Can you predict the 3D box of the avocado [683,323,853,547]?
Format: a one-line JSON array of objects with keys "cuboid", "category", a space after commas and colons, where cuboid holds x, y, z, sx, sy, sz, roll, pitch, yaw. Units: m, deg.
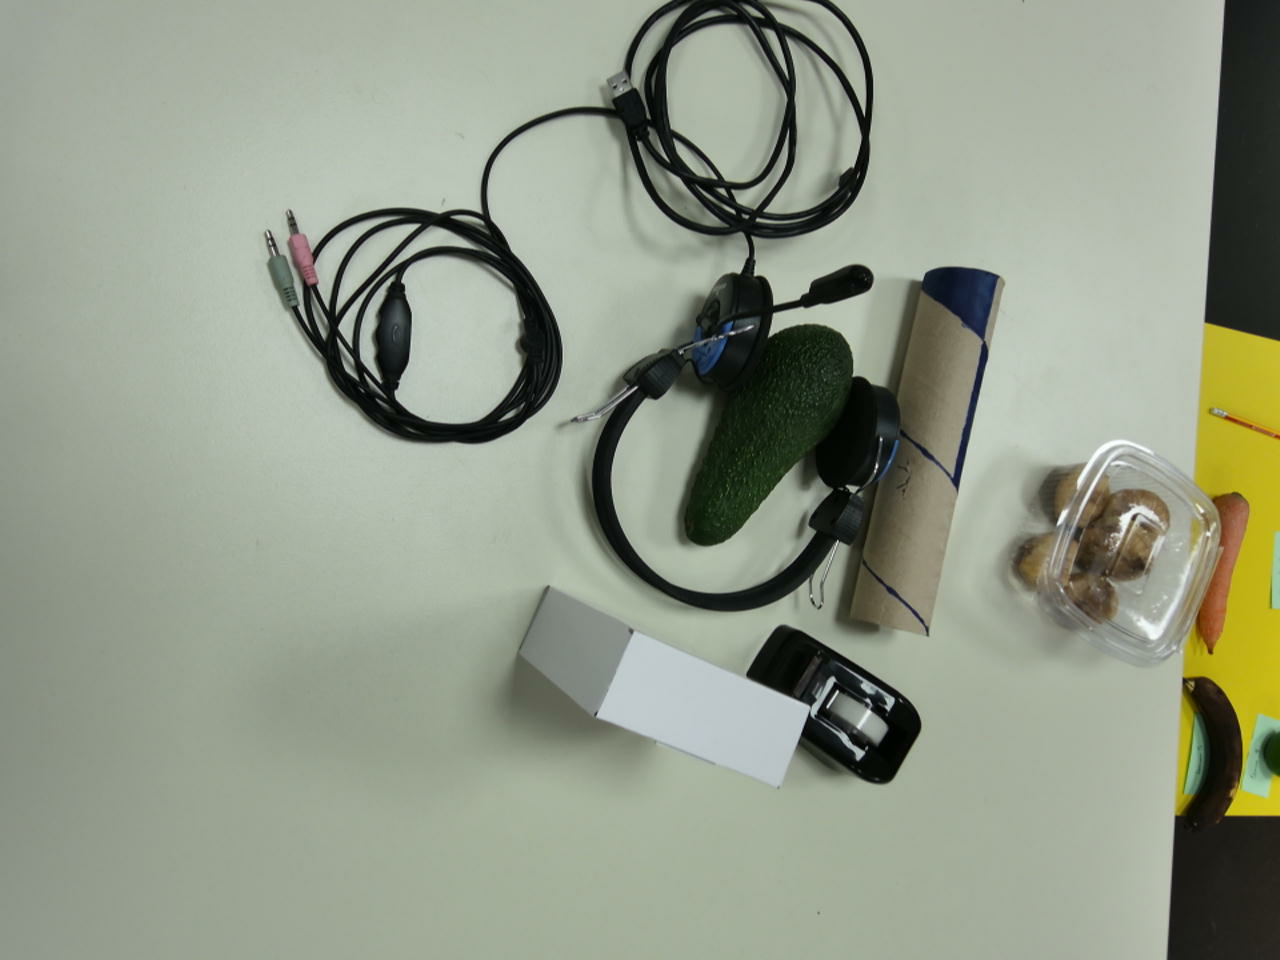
[{"cuboid": [0.075, -0.023, 0.557, 0.063, 0.067, 0.141, 22, 83, -21], "category": "avocado"}]
